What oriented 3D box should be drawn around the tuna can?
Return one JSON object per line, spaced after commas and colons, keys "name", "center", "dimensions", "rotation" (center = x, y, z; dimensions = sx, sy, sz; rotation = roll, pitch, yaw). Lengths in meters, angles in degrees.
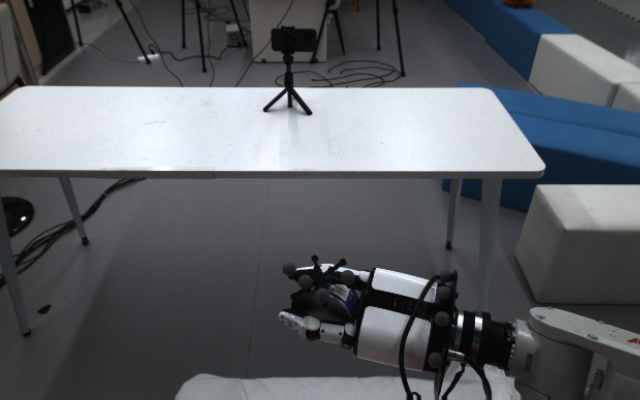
{"name": "tuna can", "center": [0.010, 0.137, 0.635], "dimensions": [0.085, 0.085, 0.034], "rotation": [14, 41, 16]}
